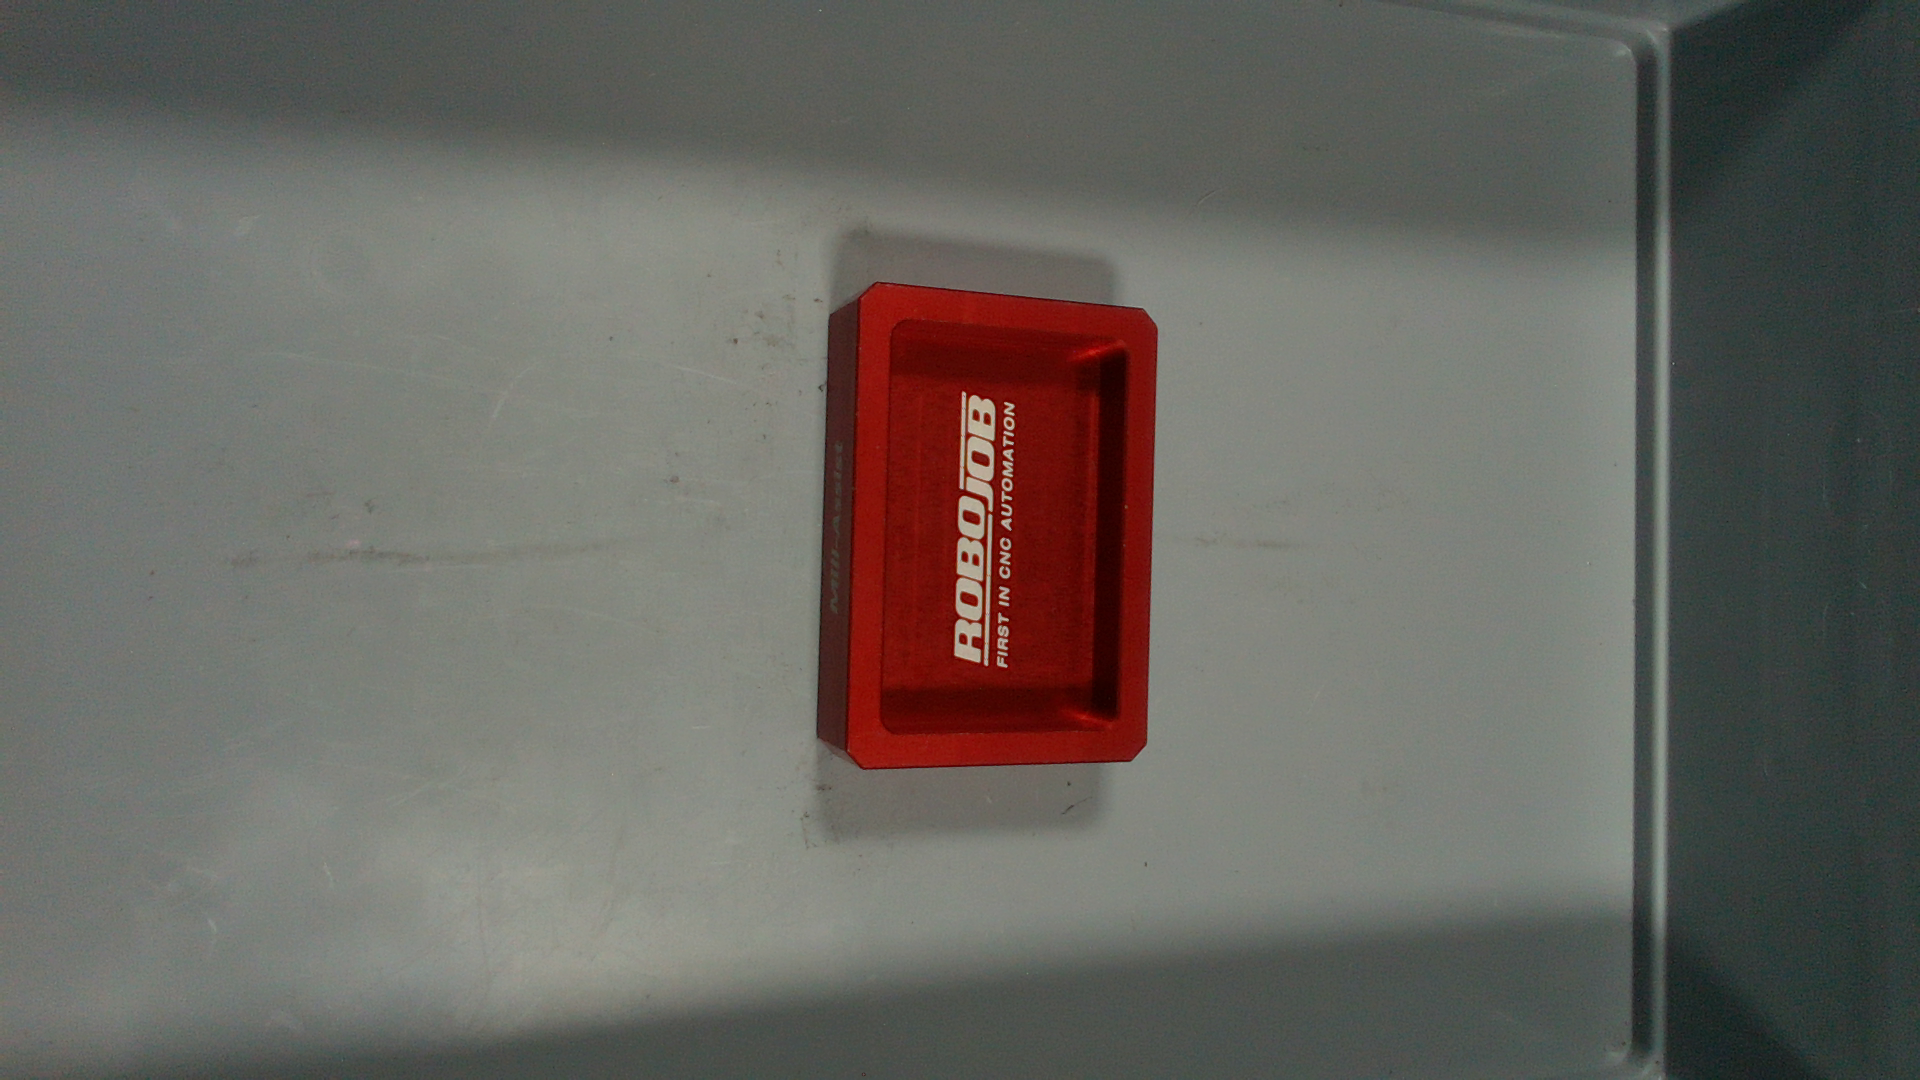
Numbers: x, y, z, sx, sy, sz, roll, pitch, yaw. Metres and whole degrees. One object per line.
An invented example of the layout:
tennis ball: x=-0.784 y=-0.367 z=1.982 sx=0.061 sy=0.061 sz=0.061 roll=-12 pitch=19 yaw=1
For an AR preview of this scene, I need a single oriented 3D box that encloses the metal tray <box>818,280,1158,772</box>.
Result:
metal tray: x=0.008 y=-0.003 z=0.391 sx=0.090 sy=0.030 sz=0.130 roll=2 pitch=89 yaw=-20
